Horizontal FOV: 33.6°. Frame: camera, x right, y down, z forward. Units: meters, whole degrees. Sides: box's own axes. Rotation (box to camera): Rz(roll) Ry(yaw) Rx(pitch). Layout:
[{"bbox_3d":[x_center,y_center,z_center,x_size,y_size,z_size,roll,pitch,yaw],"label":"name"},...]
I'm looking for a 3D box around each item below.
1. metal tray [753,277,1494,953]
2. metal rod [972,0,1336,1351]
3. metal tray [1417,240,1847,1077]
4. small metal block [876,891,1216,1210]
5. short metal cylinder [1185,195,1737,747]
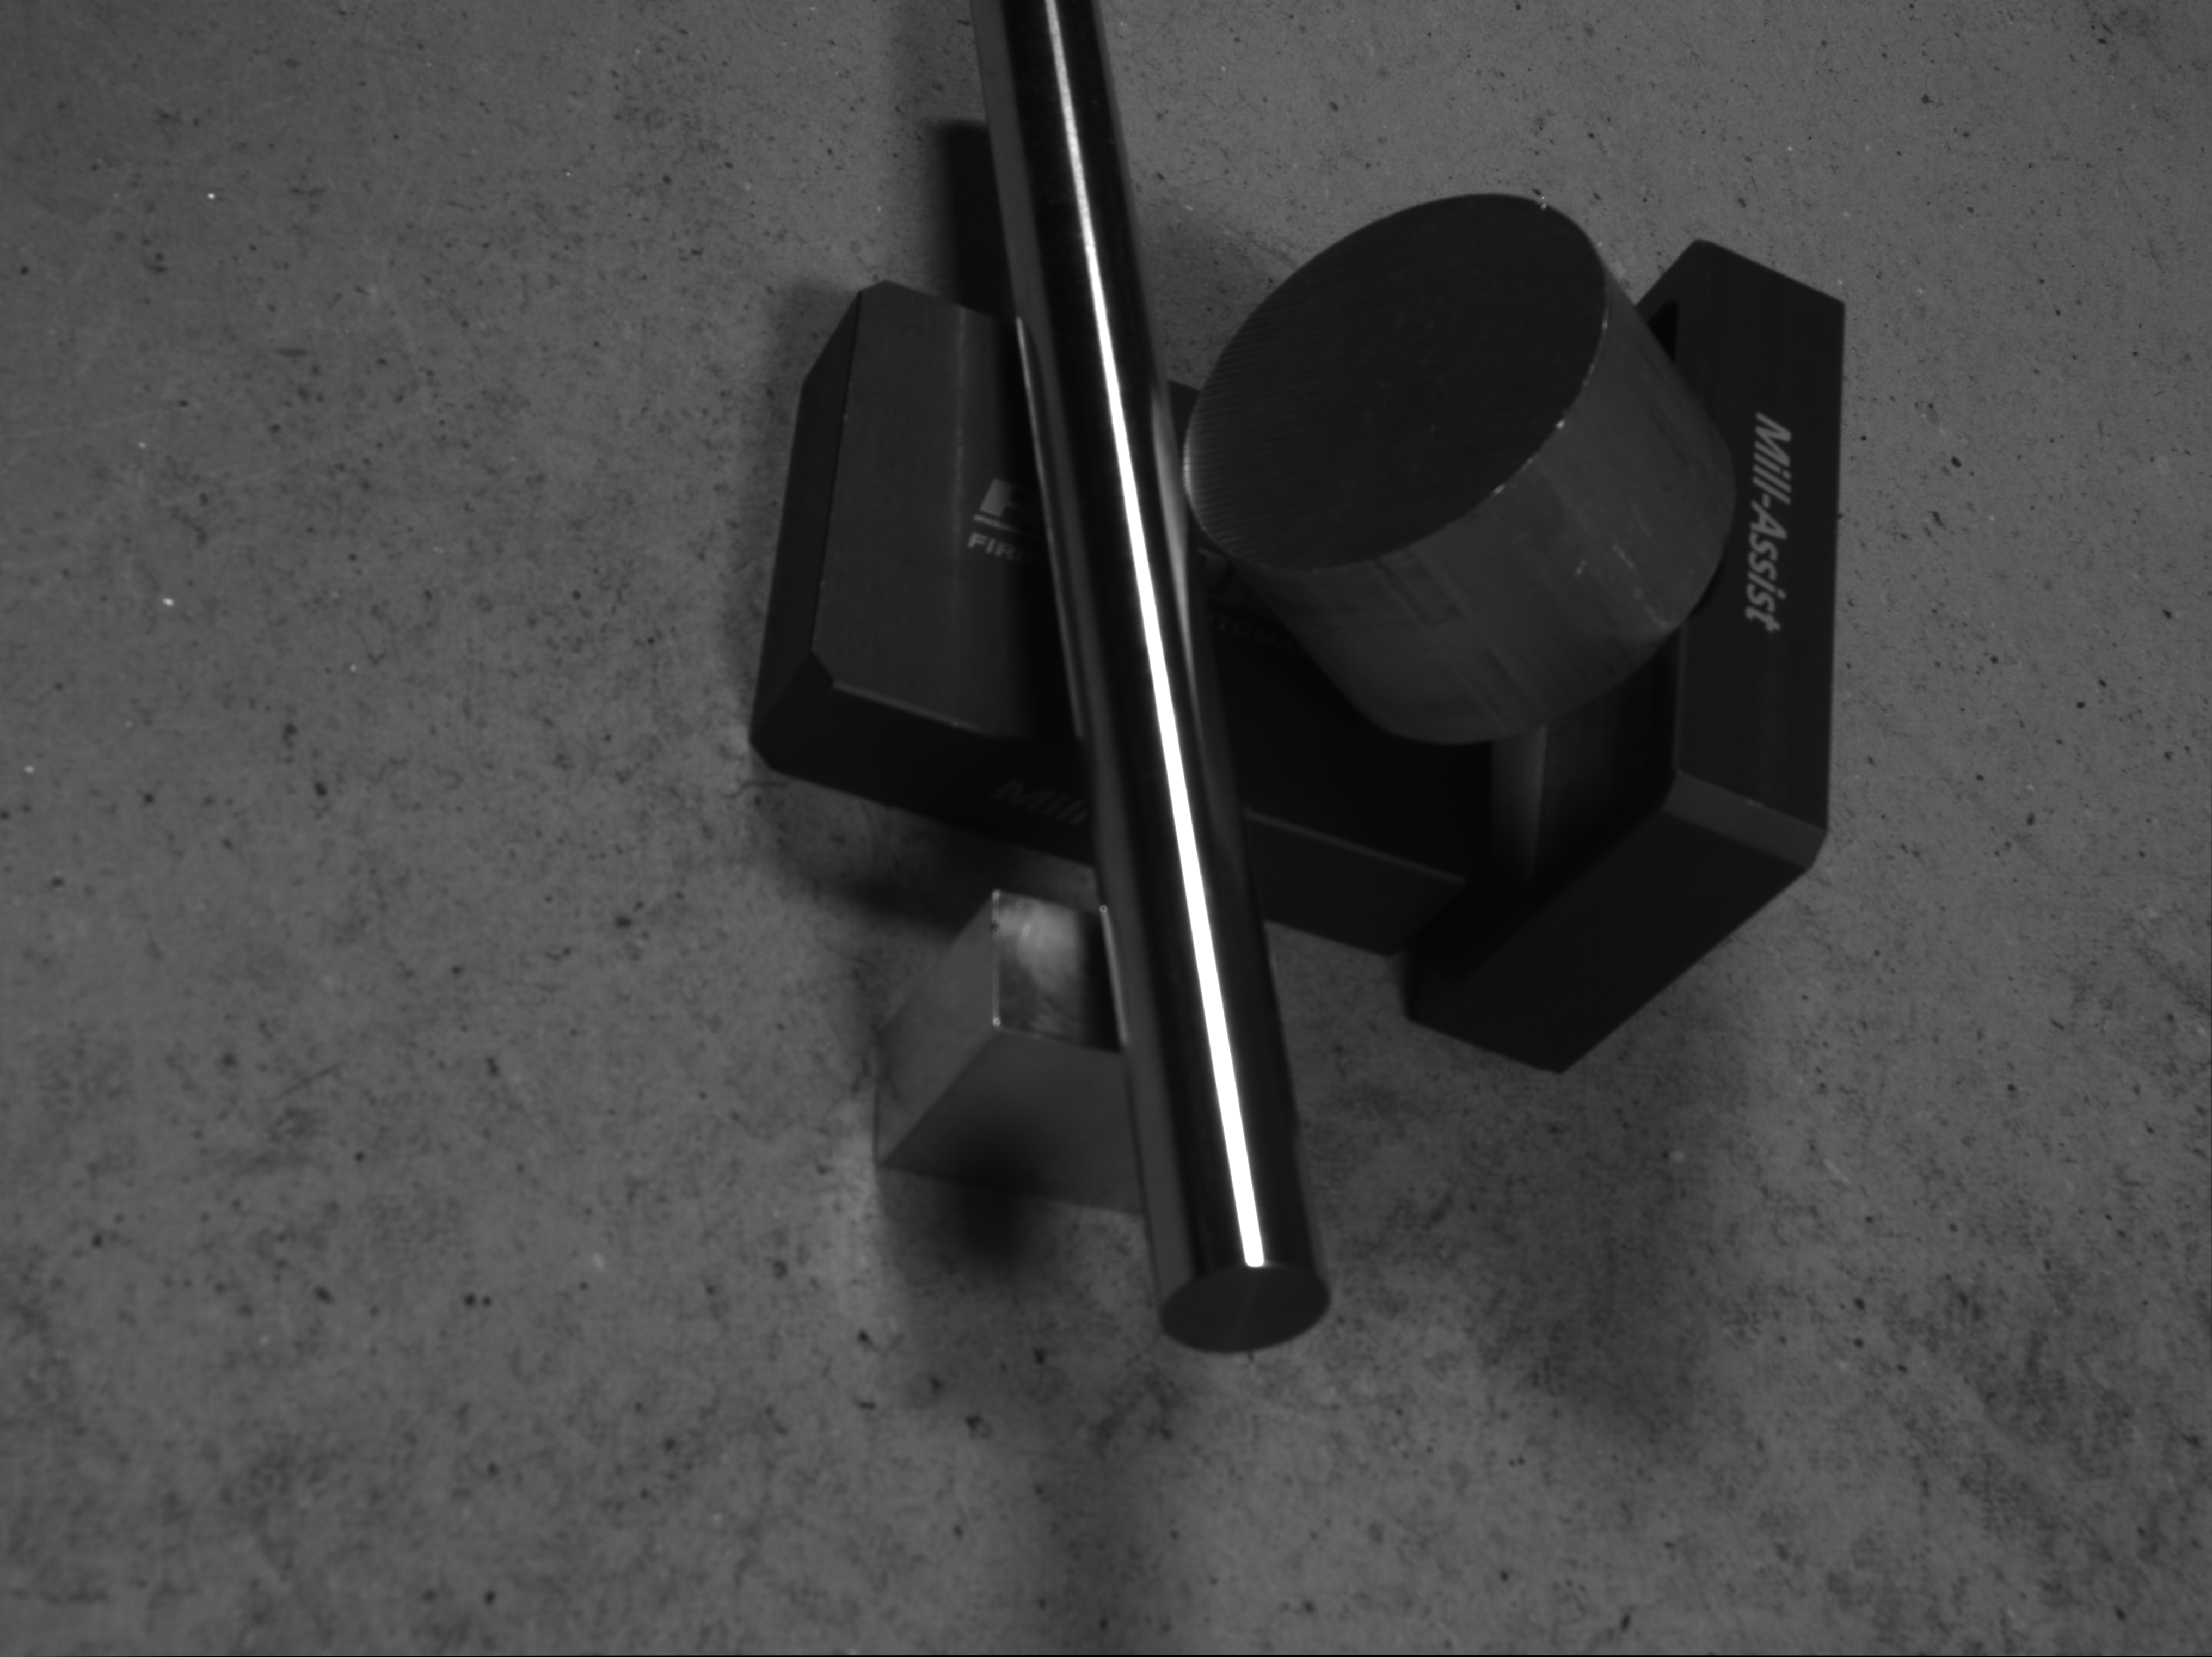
[{"bbox_3d":[0.007,-0.038,0.663,0.130,0.030,0.090,17,55,-18],"label":"metal tray"},{"bbox_3d":[0.003,-0.048,0.621,0.025,0.025,0.300,10,48,-23],"label":"metal rod"},{"bbox_3d":[0.096,-0.031,0.669,0.030,0.090,0.130,21,54,-16],"label":"metal tray"},{"bbox_3d":[-0.005,0.037,0.598,0.050,0.050,0.025,12,56,-21],"label":"small metal block"},{"bbox_3d":[0.061,-0.061,0.627,0.050,0.080,0.080,46,42,-40],"label":"short metal cylinder"}]
